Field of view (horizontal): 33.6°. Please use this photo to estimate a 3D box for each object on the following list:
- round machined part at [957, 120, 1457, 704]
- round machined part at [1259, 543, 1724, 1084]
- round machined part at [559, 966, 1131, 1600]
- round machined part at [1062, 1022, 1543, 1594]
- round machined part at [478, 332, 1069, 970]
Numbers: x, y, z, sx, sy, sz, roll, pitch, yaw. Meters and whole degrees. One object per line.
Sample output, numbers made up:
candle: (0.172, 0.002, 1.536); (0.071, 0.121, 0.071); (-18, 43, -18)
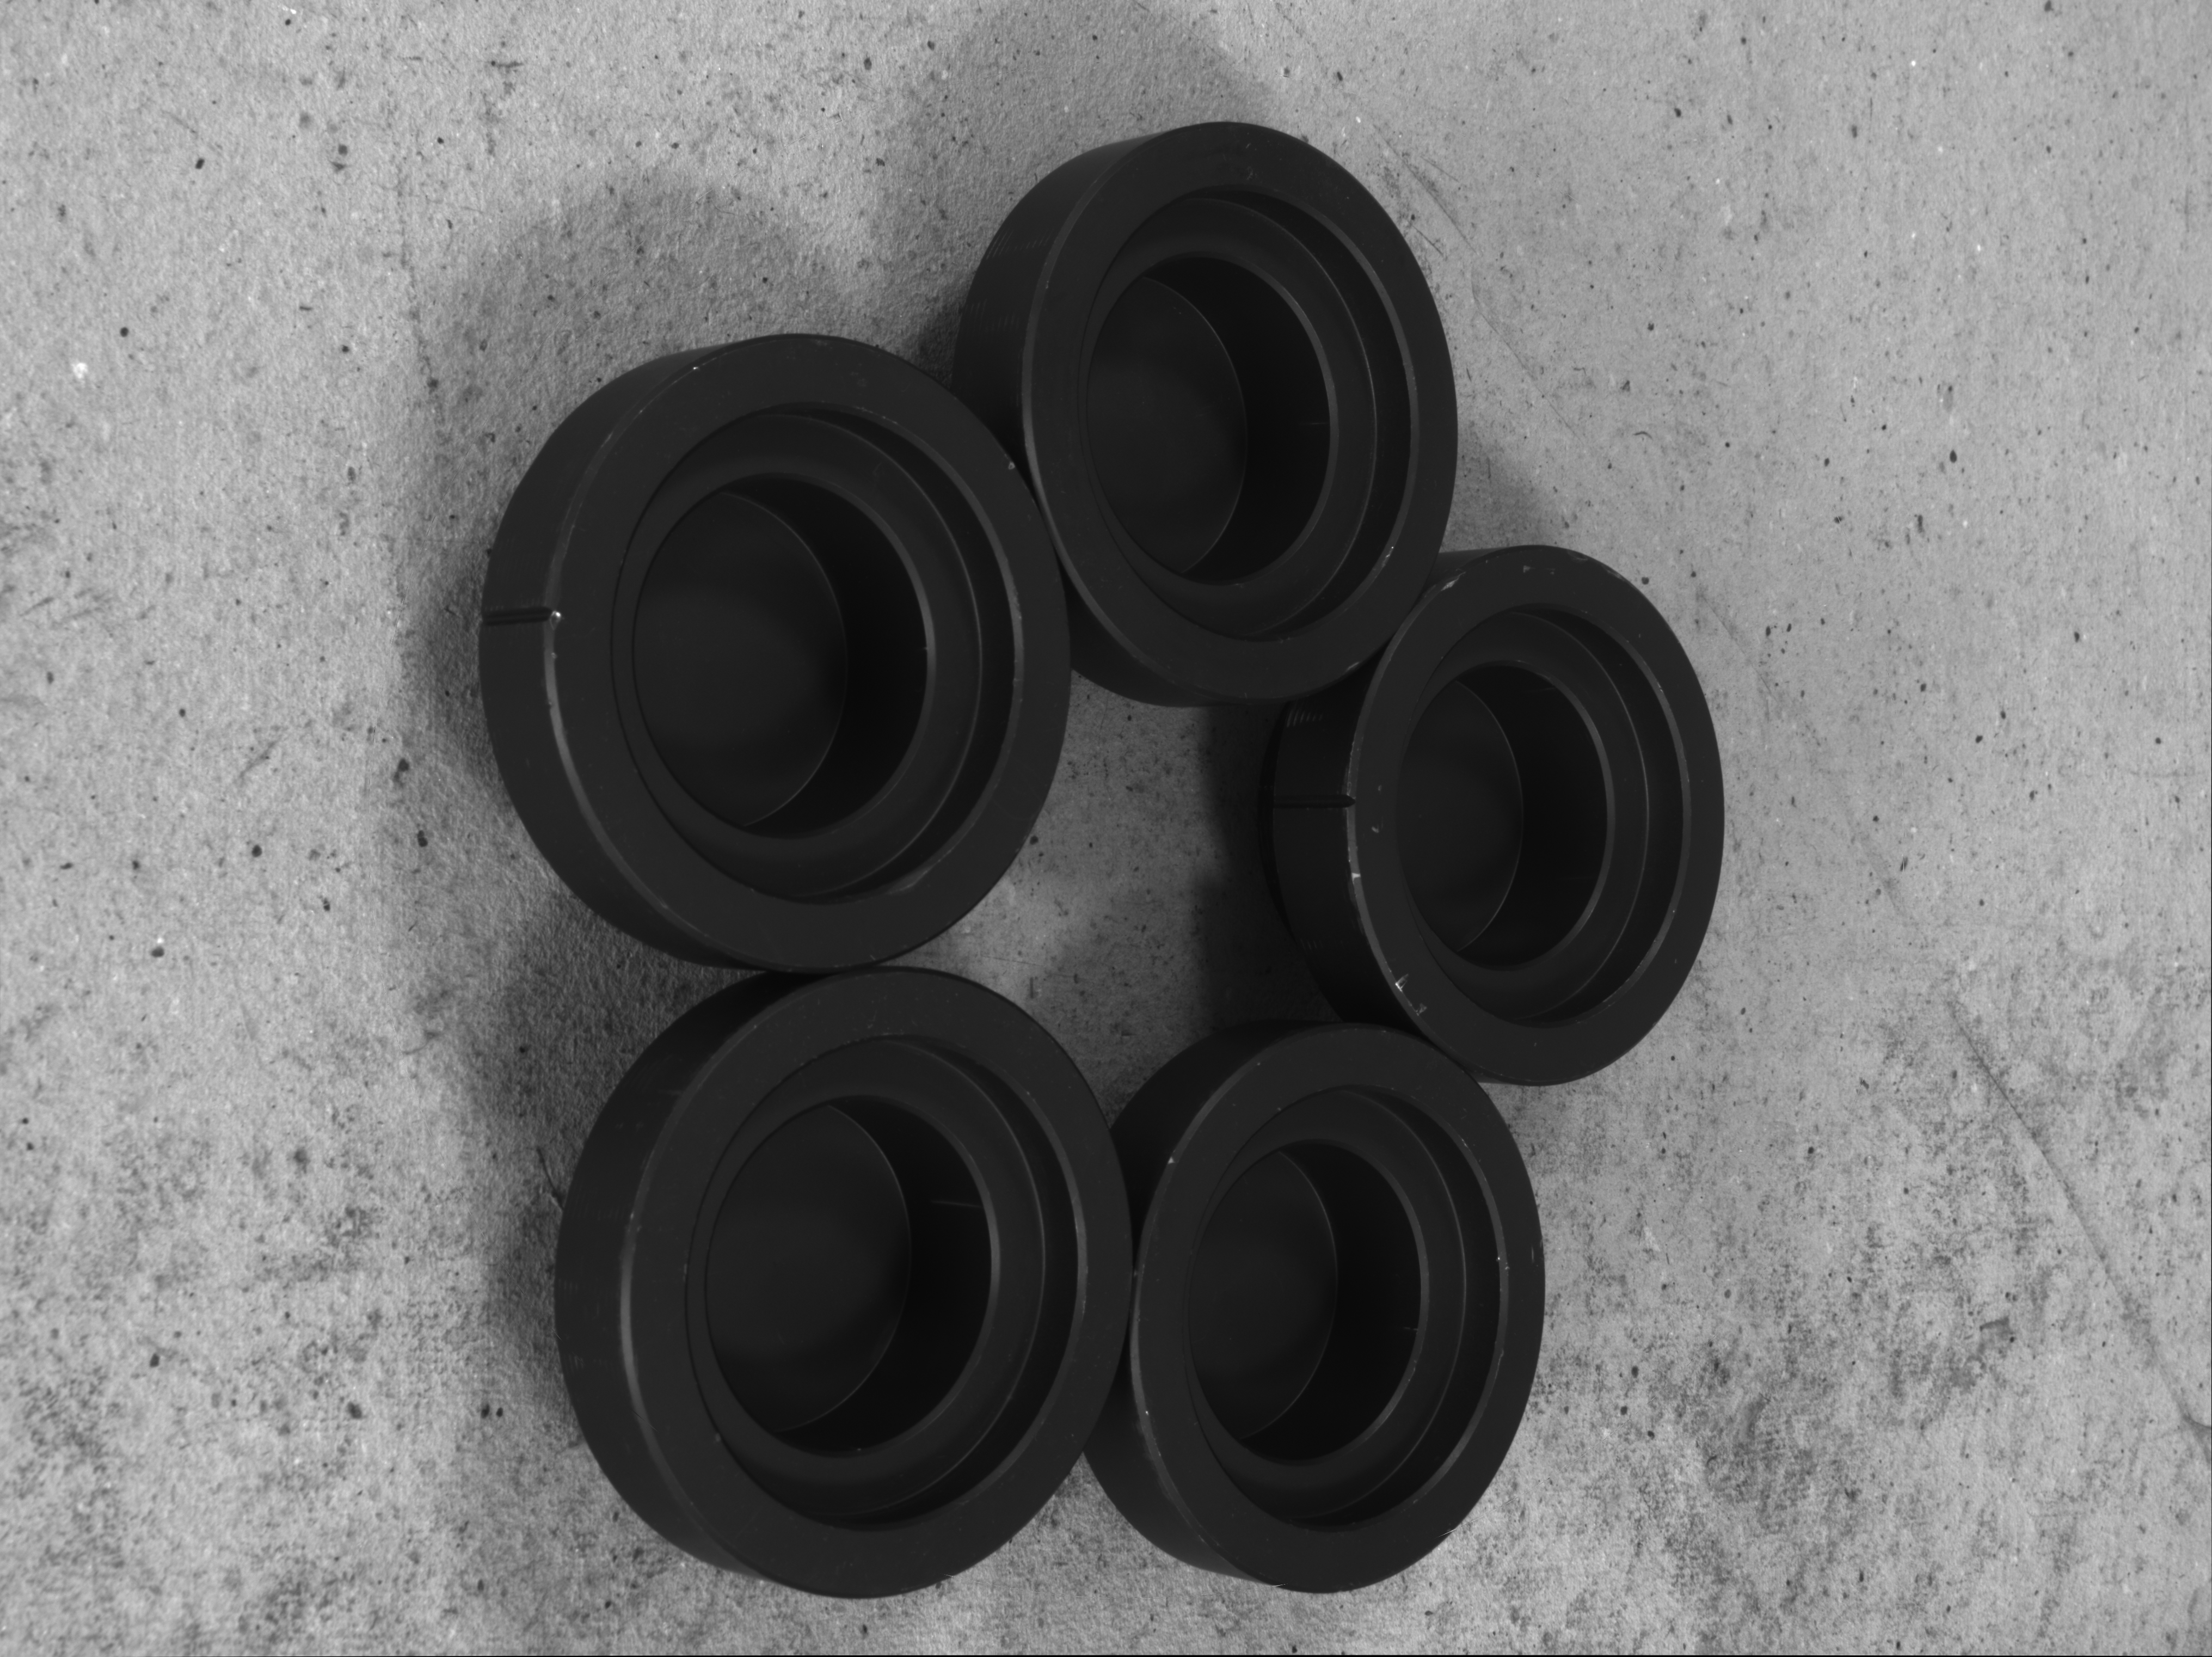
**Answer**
round machined part: (0.012, -0.070, 0.634); (0.098, 0.042, 0.098); (2, 87, -41)
round machined part: (0.067, -0.002, 0.679); (0.098, 0.042, 0.098); (2, 87, -41)
round machined part: (-0.046, 0.071, 0.586); (0.098, 0.042, 0.098); (2, 87, -41)
round machined part: (0.029, 0.083, 0.649); (0.098, 0.042, 0.098); (1, 89, -41)
round machined part: (-0.056, -0.027, 0.578); (0.098, 0.042, 0.098); (2, 87, -40)
